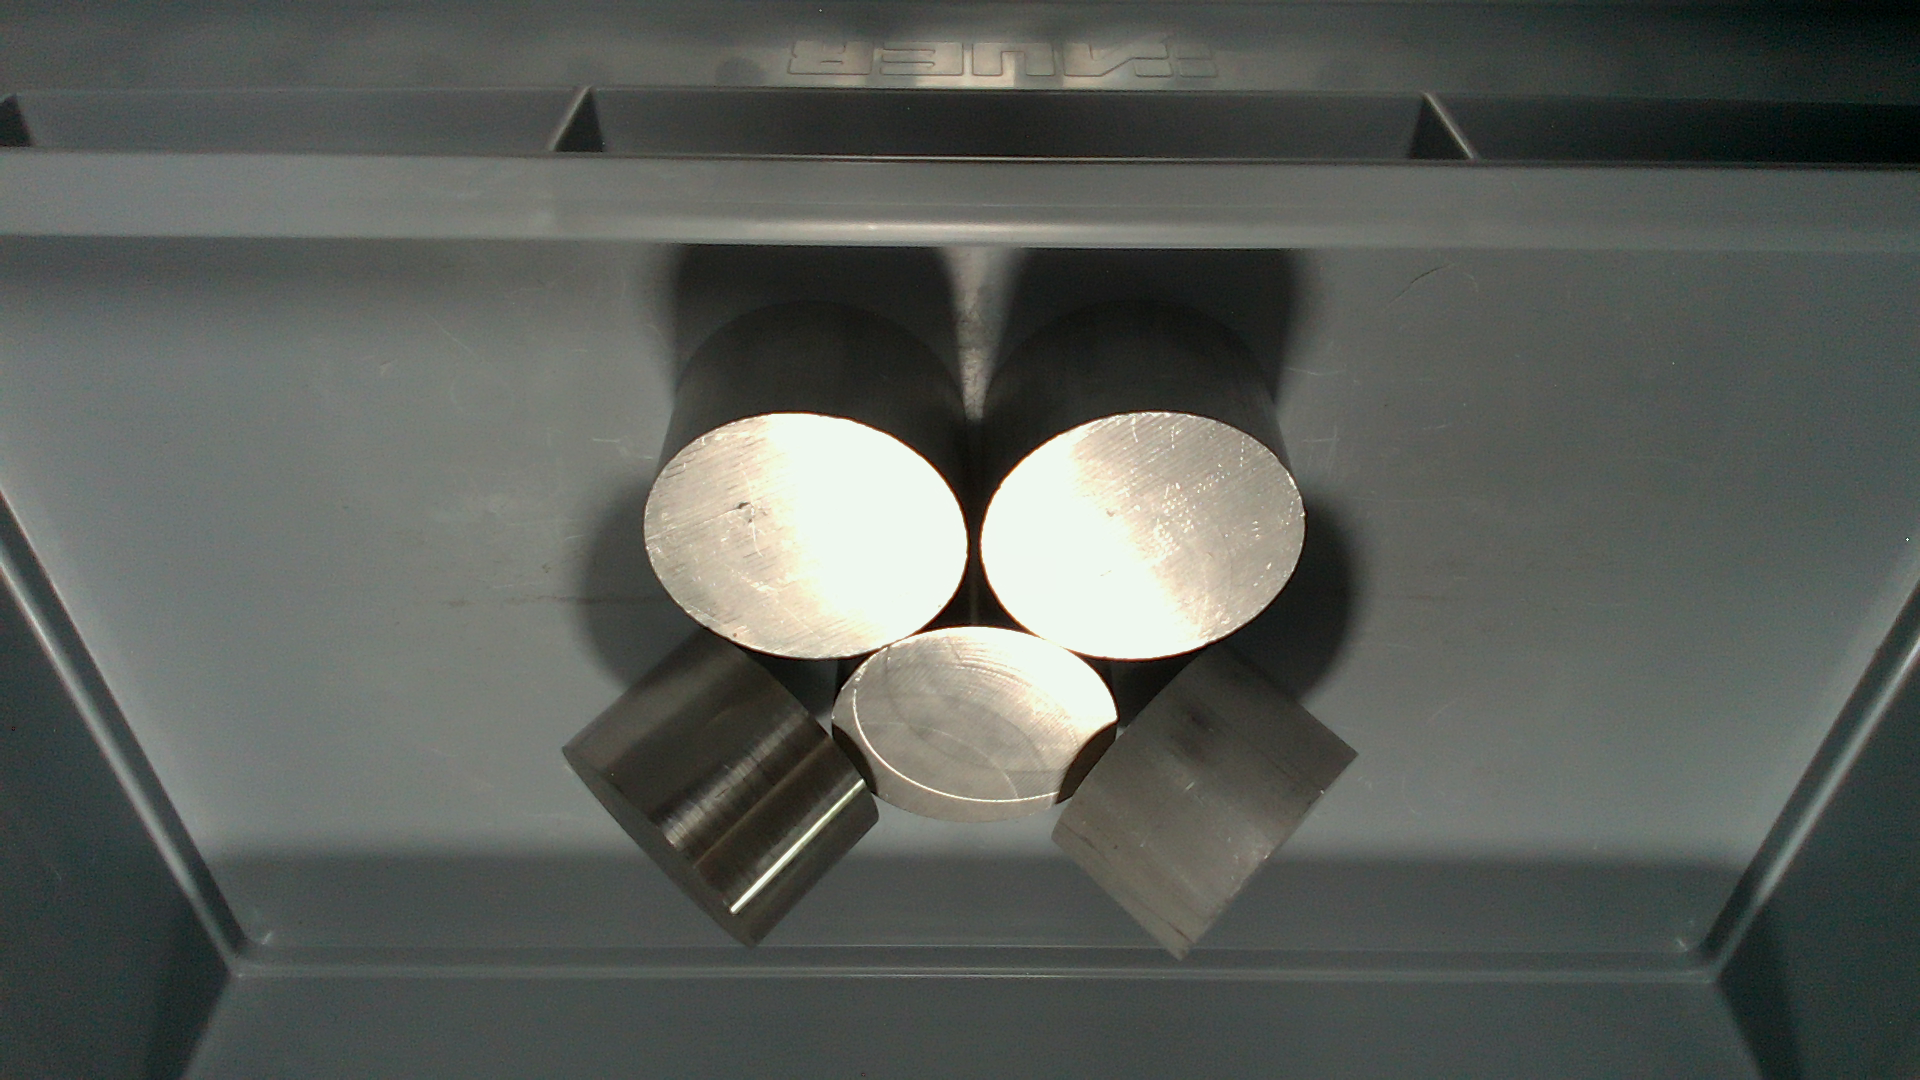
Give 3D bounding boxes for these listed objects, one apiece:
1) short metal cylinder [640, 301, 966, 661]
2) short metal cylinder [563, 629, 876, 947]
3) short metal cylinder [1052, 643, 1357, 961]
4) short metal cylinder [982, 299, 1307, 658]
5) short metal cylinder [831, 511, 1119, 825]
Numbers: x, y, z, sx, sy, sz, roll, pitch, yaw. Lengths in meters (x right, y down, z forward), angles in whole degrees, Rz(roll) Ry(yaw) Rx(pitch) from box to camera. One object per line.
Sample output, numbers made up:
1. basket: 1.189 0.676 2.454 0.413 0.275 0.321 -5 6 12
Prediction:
1. short metal cylinder: -0.039 -0.015 0.359 0.080 0.050 0.080 0 130 0
2. short metal cylinder: -0.071 0.073 0.407 0.050 0.080 0.080 -43 131 -22
3. short metal cylinder: 0.073 0.077 0.410 0.050 0.080 0.080 40 129 18
4. short metal cylinder: 0.046 -0.015 0.360 0.080 0.050 0.080 0 130 0
5. short metal cylinder: 0.004 0.038 0.403 0.080 0.050 0.080 0 130 0
